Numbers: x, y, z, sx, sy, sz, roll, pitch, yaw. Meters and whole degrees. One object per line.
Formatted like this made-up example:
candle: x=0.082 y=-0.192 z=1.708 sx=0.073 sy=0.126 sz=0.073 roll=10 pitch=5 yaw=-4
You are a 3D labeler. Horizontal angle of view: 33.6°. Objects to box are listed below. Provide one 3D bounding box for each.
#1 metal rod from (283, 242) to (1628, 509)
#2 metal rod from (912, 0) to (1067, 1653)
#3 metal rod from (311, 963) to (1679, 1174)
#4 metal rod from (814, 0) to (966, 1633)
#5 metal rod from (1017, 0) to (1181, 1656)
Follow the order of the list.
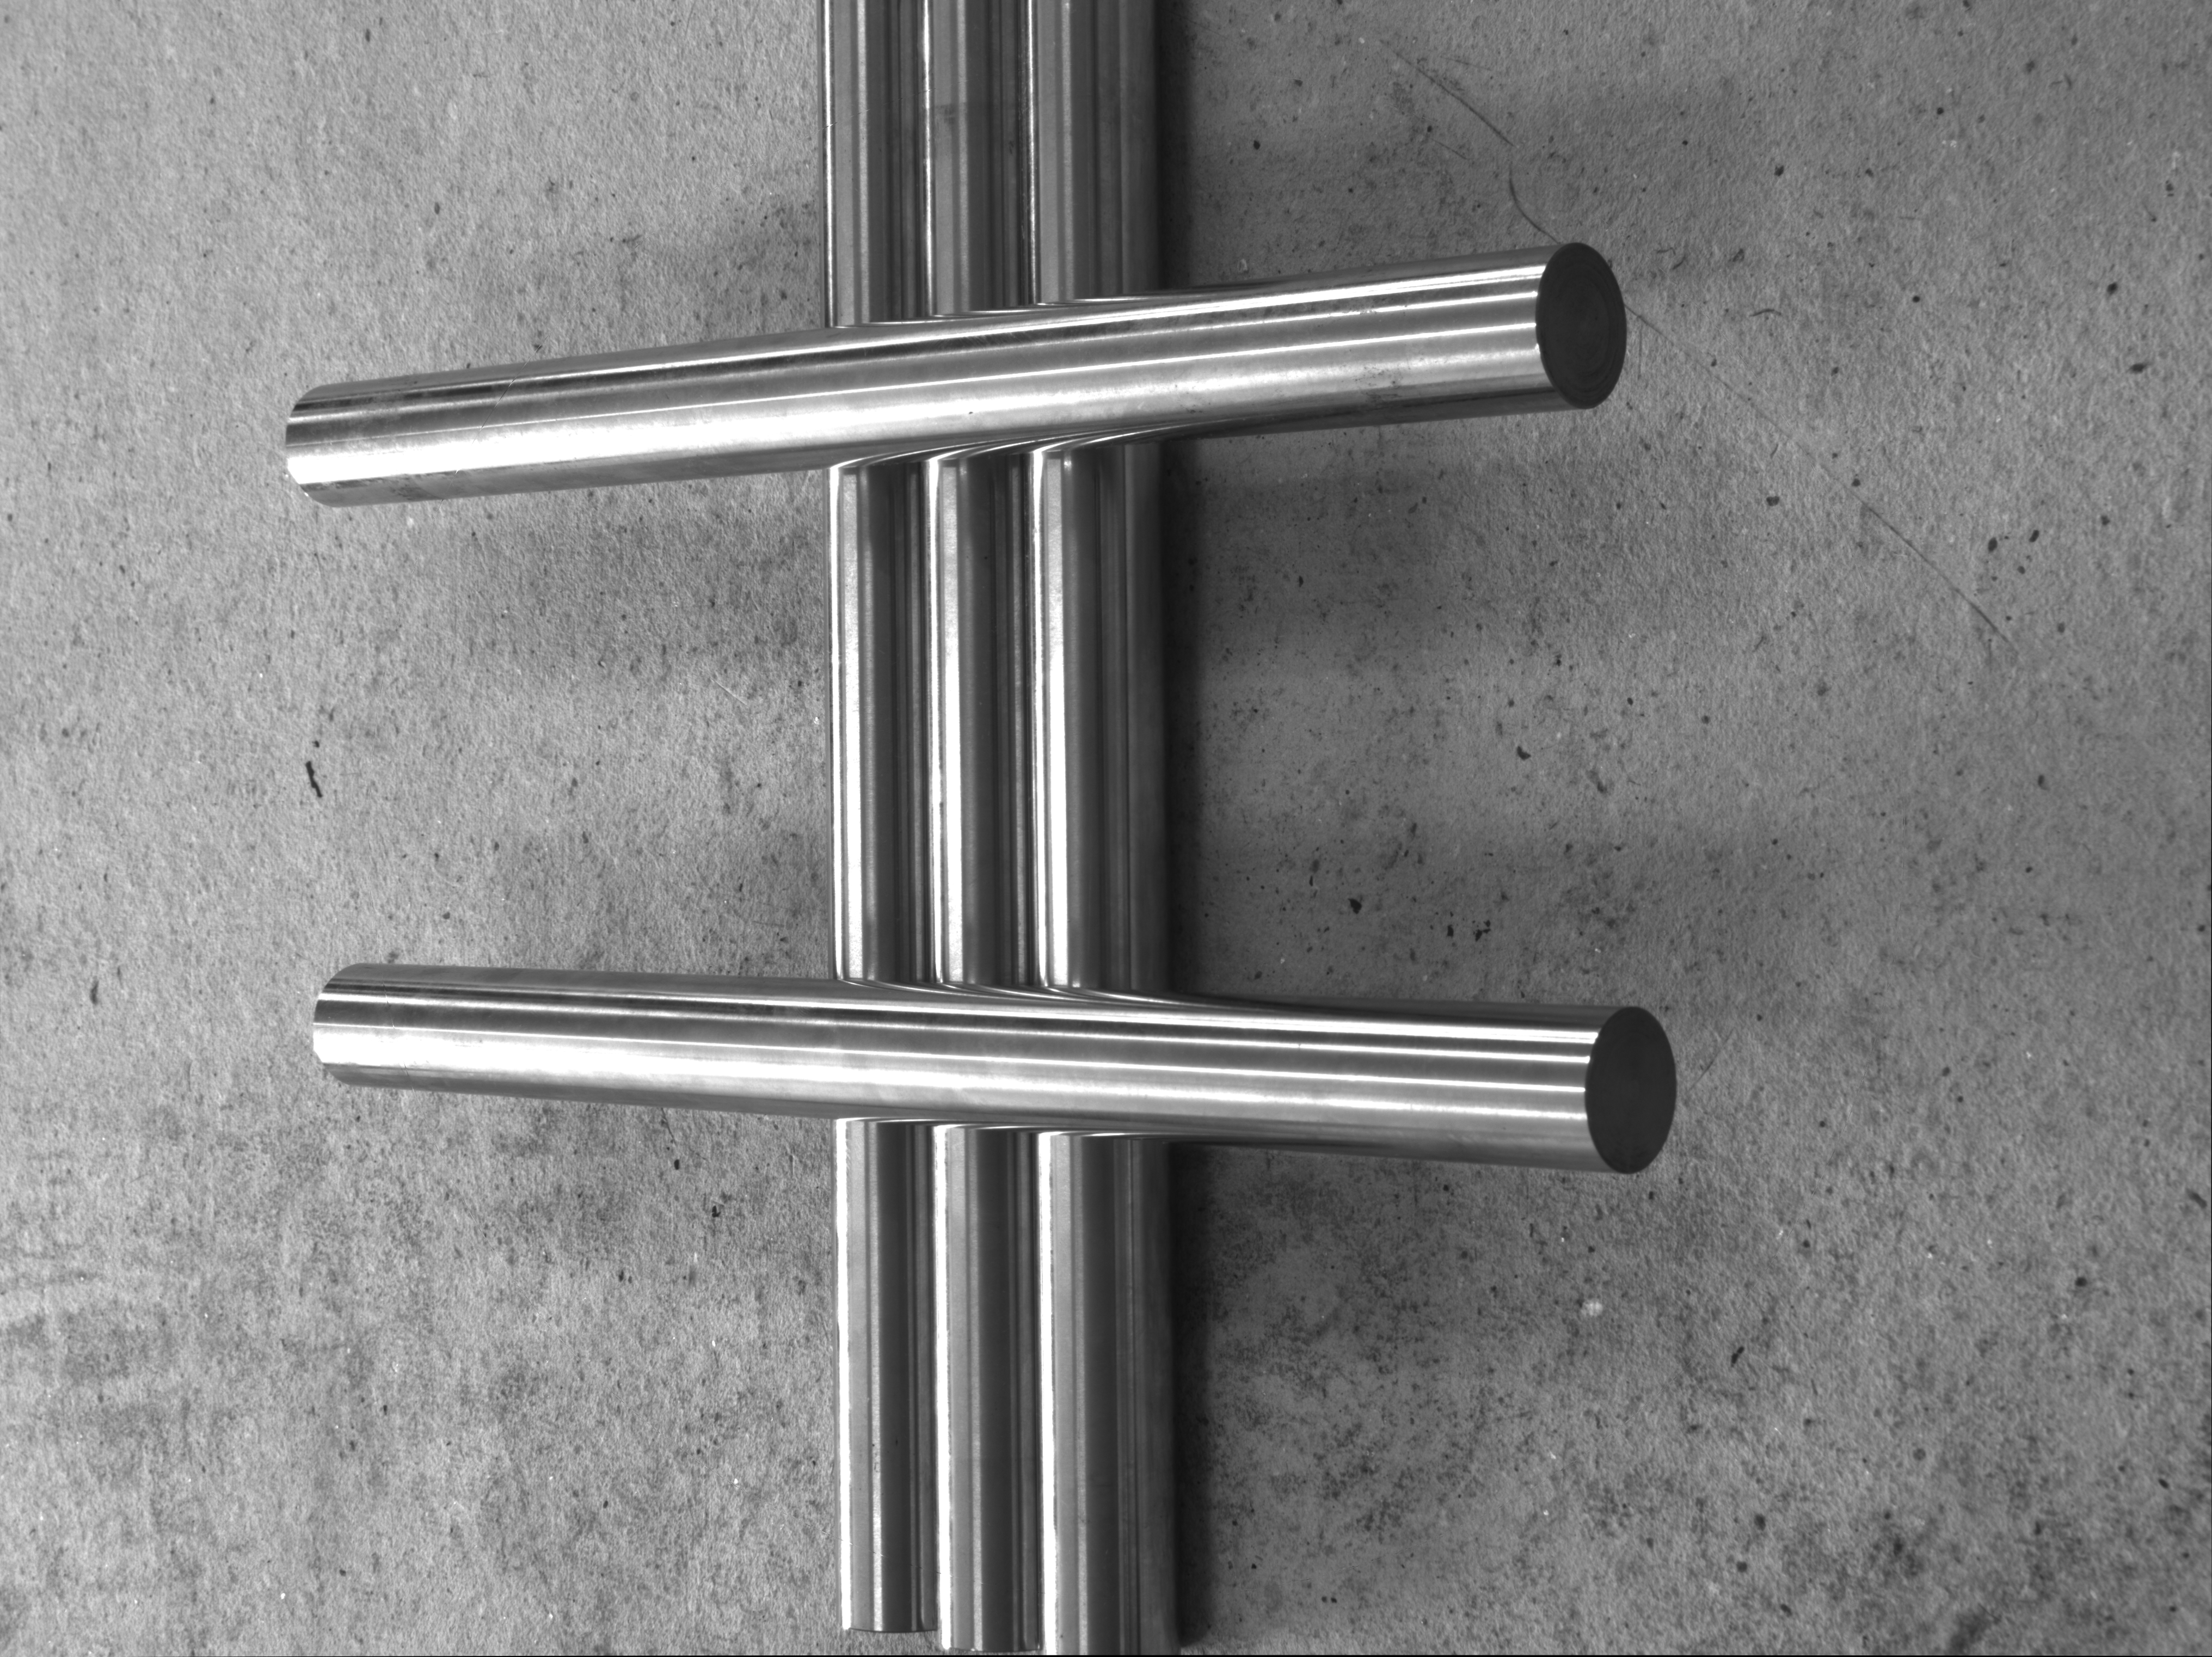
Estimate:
metal rod: x=-0.042 y=-0.076 z=0.648 sx=0.299 sy=0.025 sz=0.025 roll=0 pitch=90 yaw=40
metal rod: x=-0.021 y=-0.004 z=0.663 sx=0.025 sy=0.025 sz=0.300 roll=-1 pitch=89 yaw=40
metal rod: x=-0.036 y=0.039 z=0.642 sx=0.299 sy=0.025 sz=0.025 roll=0 pitch=90 yaw=40
metal rod: x=-0.040 y=-0.004 z=0.679 sx=0.025 sy=0.025 sz=0.300 roll=-1 pitch=89 yaw=40
metal rod: x=-0.001 y=-0.004 z=0.646 sx=0.025 sy=0.025 sz=0.300 roll=-1 pitch=89 yaw=40
